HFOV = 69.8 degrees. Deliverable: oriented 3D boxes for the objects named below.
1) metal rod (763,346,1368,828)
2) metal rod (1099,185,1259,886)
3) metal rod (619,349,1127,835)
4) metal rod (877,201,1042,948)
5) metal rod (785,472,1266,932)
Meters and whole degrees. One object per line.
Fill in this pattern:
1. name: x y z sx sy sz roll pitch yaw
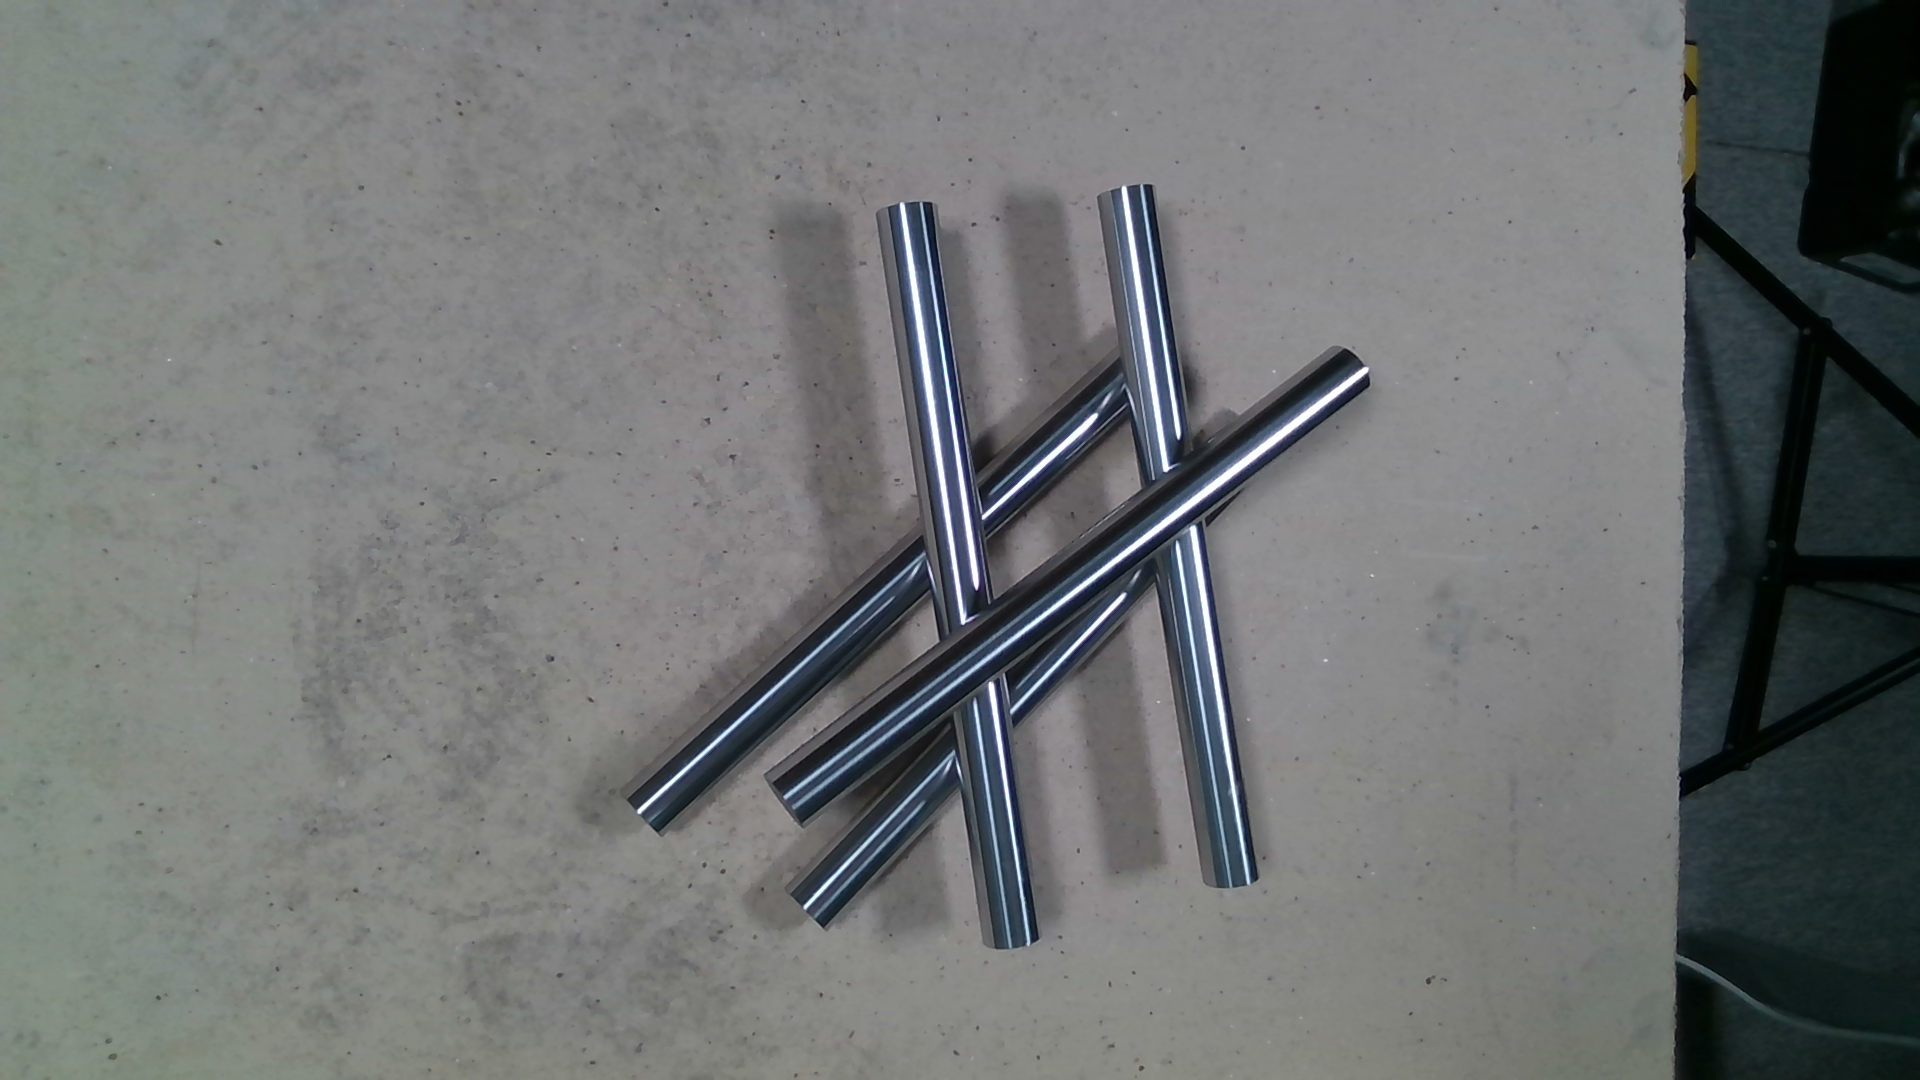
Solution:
1. metal rod: 0.050 0.012 0.552 0.300 0.025 0.025 -36 102 -16
2. metal rod: 0.094 0.000 0.595 0.025 0.025 0.300 -11 94 -20
3. metal rod: -0.018 0.009 0.579 0.300 0.025 0.025 -42 104 -15
4. metal rod: 0.000 0.016 0.560 0.025 0.025 0.300 -10 94 -20
5. metal rod: 0.040 0.050 0.601 0.300 0.025 0.025 -44 104 -15
